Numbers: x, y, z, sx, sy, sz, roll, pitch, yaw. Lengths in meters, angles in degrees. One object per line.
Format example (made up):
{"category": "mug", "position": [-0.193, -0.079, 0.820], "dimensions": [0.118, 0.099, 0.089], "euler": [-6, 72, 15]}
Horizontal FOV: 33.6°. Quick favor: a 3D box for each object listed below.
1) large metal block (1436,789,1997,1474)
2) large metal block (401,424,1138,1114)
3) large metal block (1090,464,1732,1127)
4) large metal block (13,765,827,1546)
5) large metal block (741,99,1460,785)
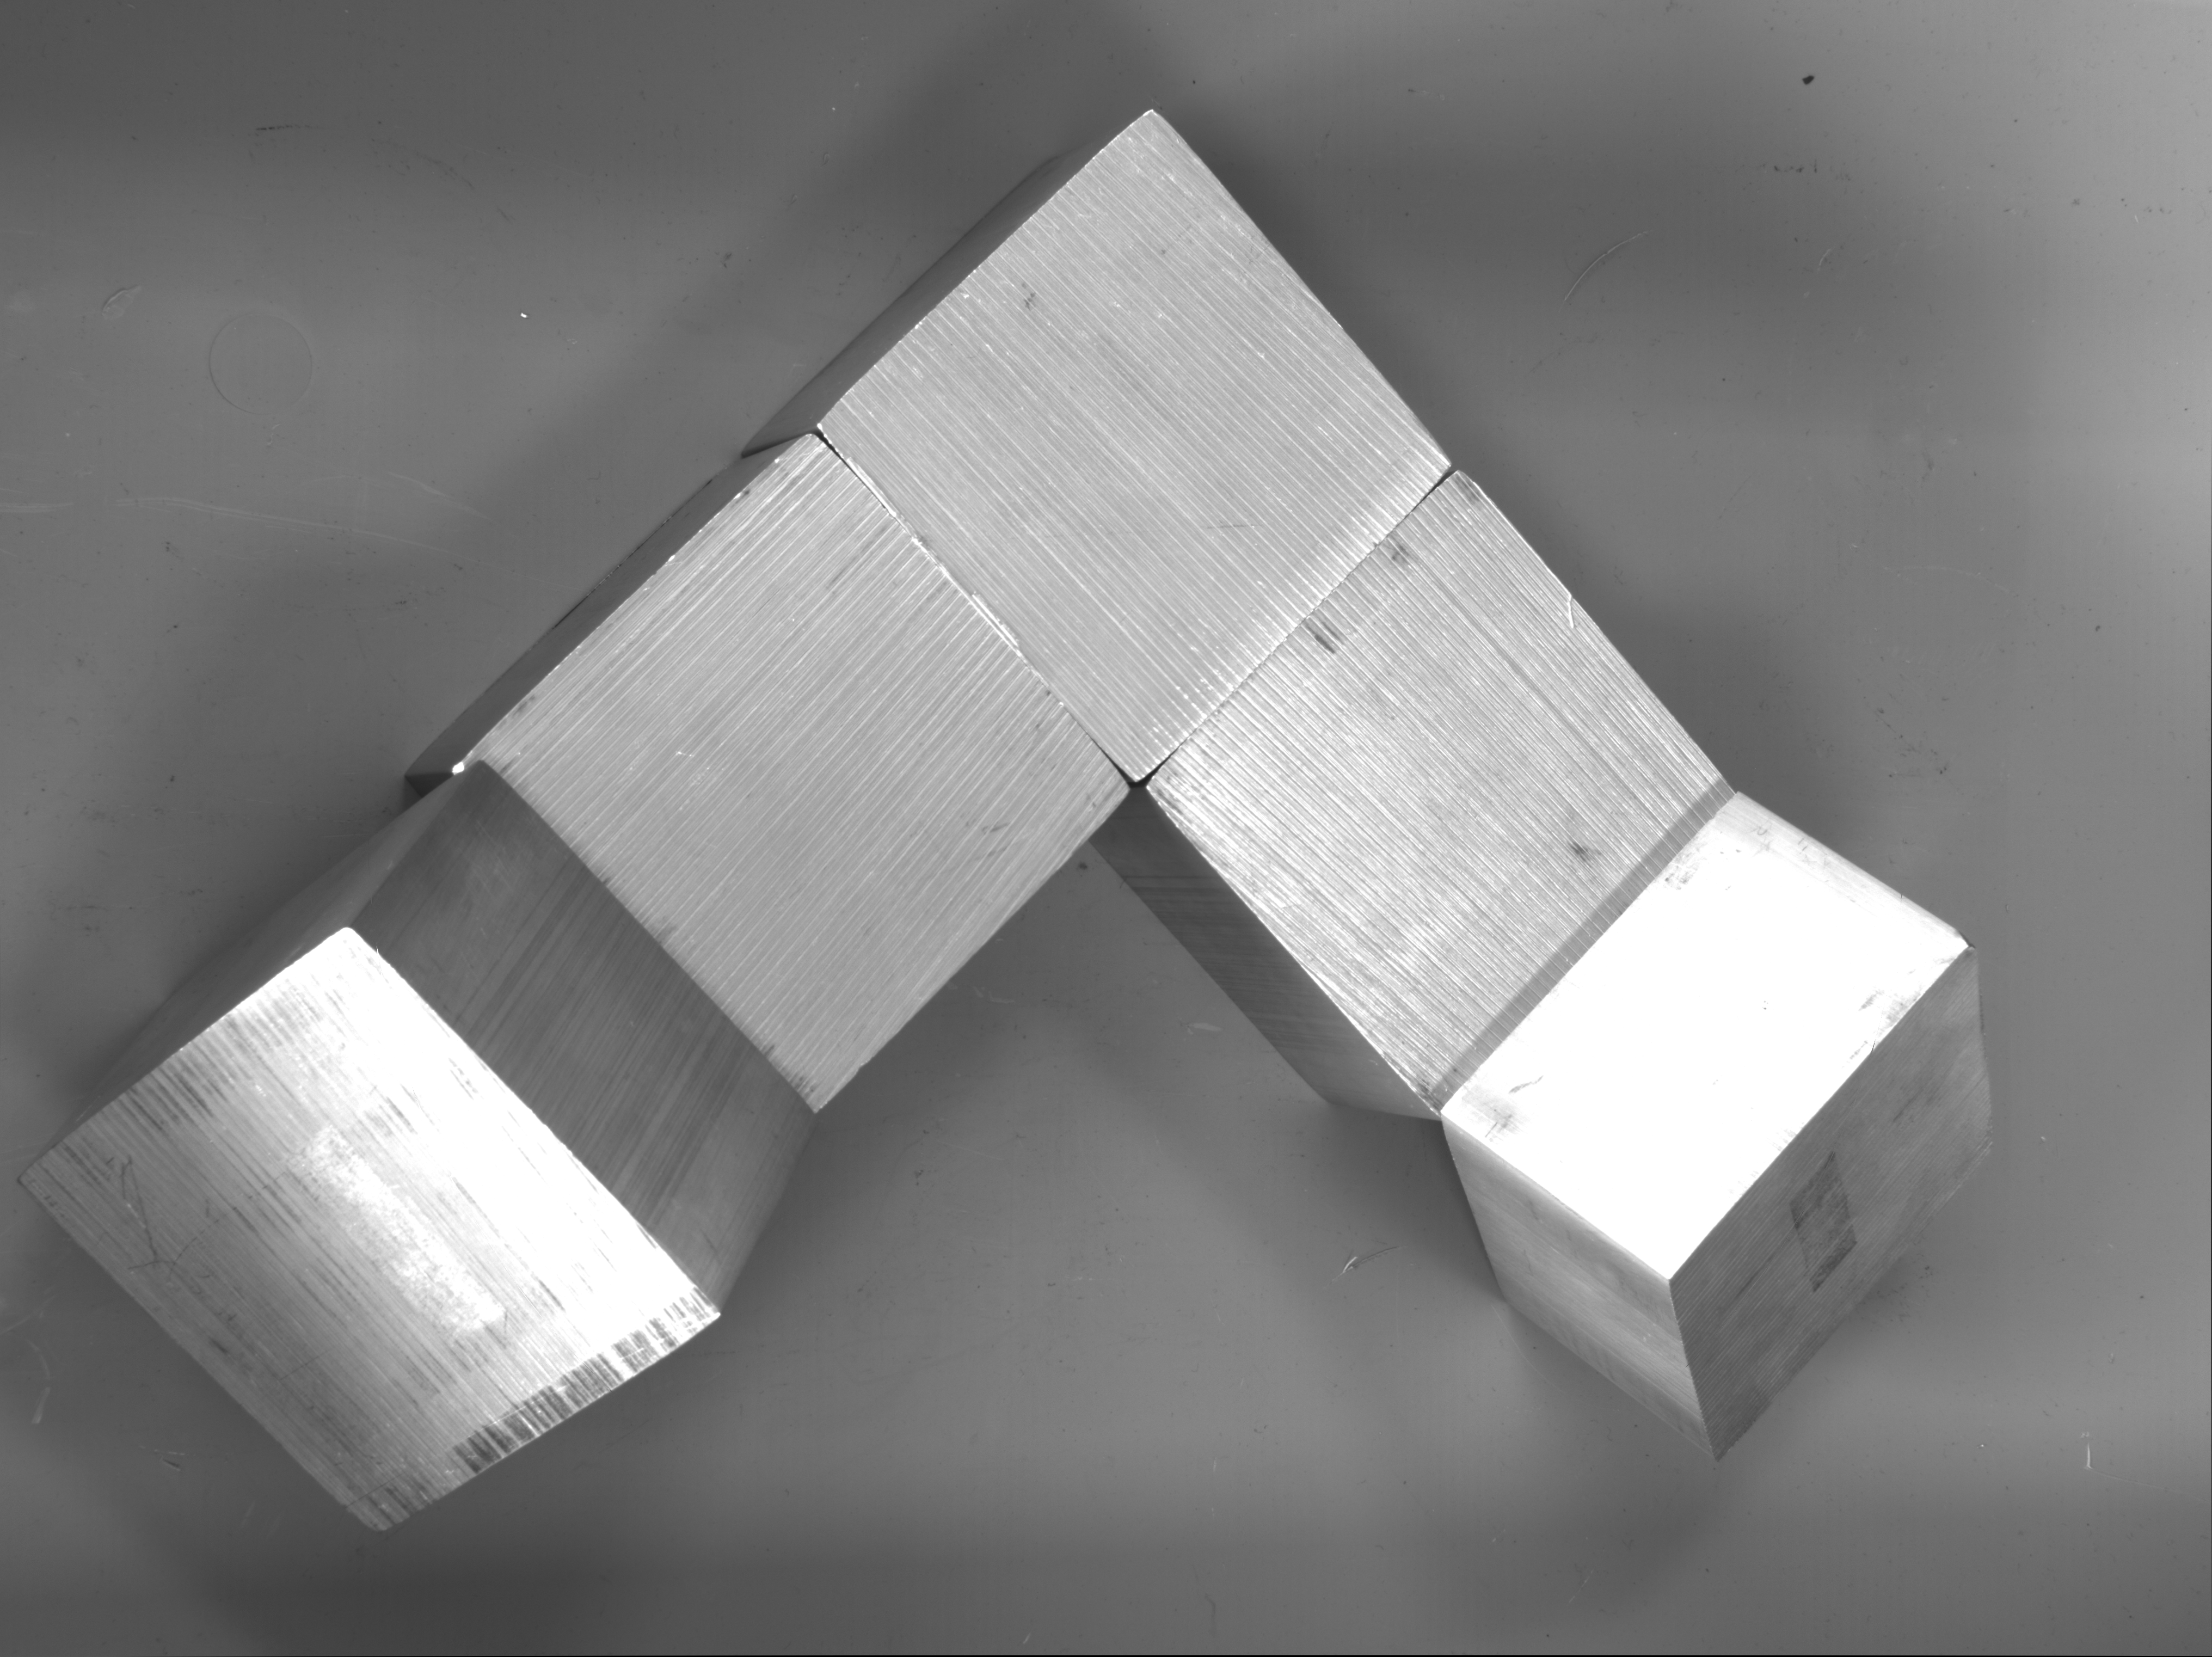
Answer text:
{"category": "large metal block", "position": [0.110, 0.054, 0.645], "dimensions": [0.080, 0.050, 0.080], "euler": [-46, 147, -14]}
{"category": "large metal block", "position": [-0.056, -0.008, 0.608], "dimensions": [0.080, 0.050, 0.080], "euler": [-46, 104, -14]}
{"category": "large metal block", "position": [0.051, -0.005, 0.646], "dimensions": [0.080, 0.050, 0.080], "euler": [-46, 104, -14]}
{"category": "large metal block", "position": [-0.105, 0.051, 0.567], "dimensions": [0.080, 0.050, 0.080], "euler": [-35, 105, 27]}
{"category": "large metal block", "position": [-0.002, -0.064, 0.628], "dimensions": [0.080, 0.050, 0.080], "euler": [-46, 104, -14]}
